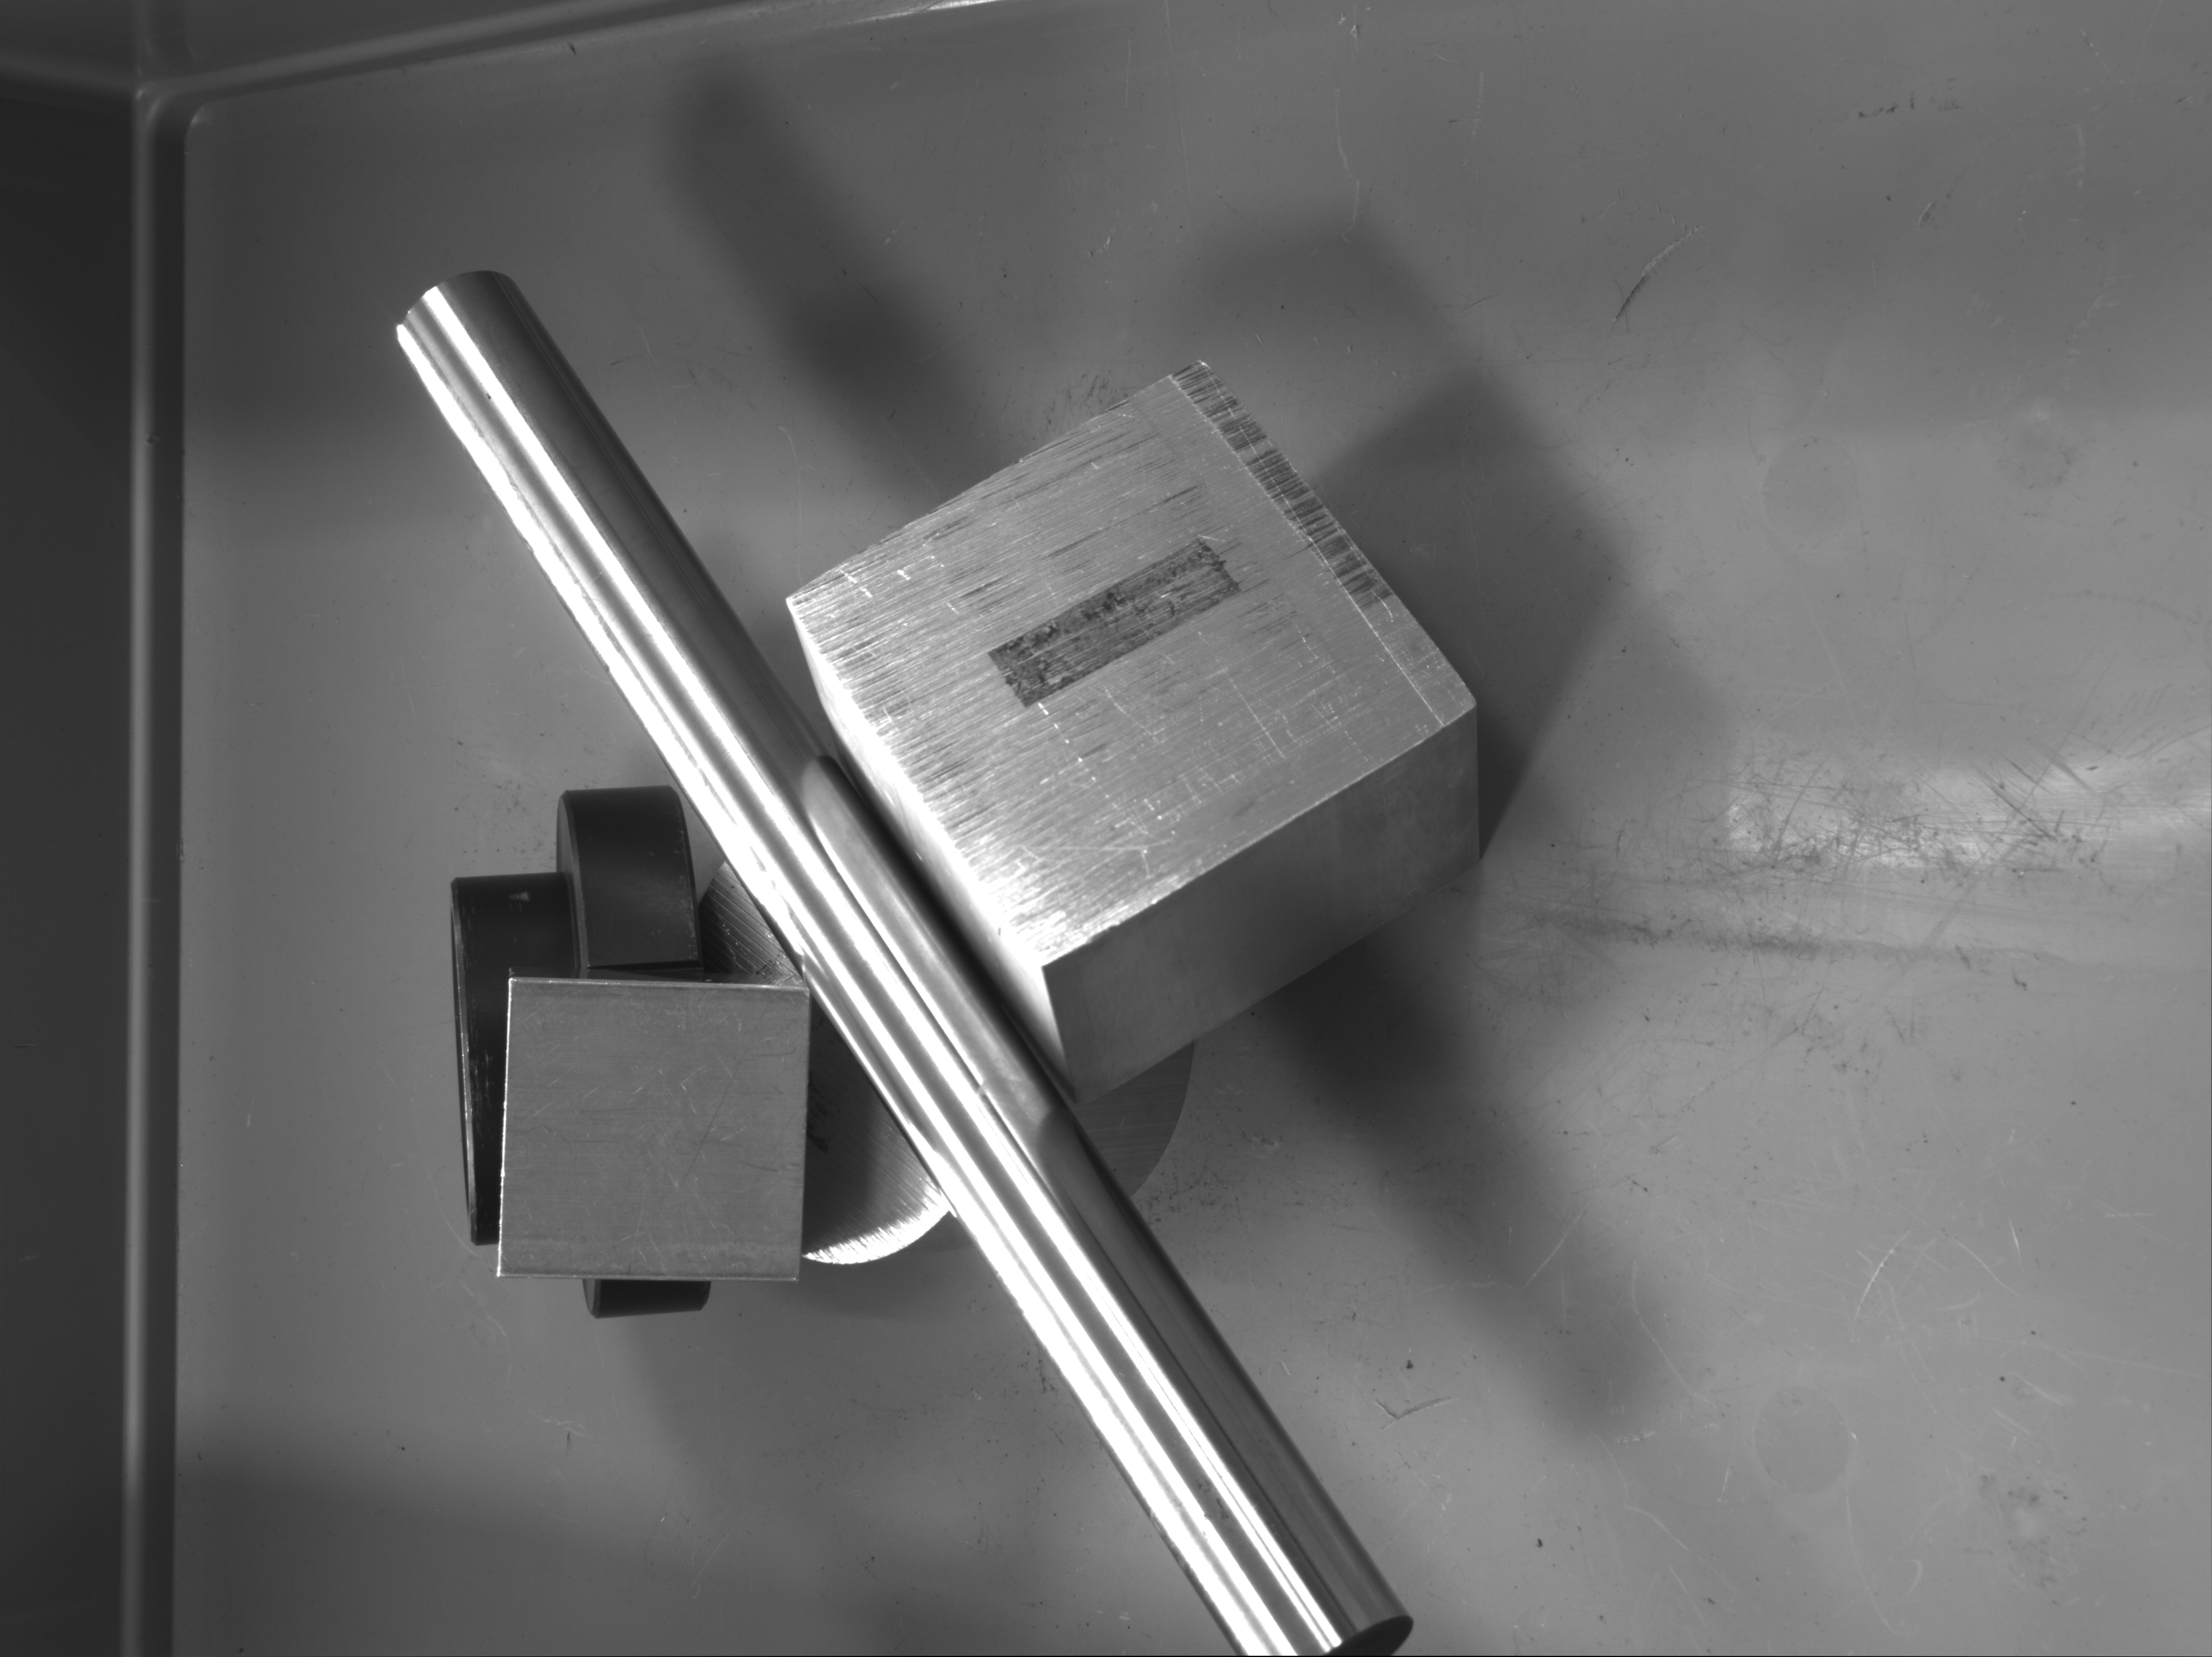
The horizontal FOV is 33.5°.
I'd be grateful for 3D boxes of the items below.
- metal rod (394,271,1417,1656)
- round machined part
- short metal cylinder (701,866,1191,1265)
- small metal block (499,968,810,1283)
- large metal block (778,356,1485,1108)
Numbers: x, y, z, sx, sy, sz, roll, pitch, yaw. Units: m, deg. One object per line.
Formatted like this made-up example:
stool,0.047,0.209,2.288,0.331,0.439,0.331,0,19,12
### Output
metal rod,-0.042,0.016,0.614,0.025,0.025,0.299,-51,60,28
round machined part,-0.099,0.042,0.682,0.098,0.042,0.098,176,90,-79
short metal cylinder,-0.032,0.035,0.654,0.080,0.050,0.080,0,90,40
small metal block,-0.077,0.050,0.624,0.025,0.050,0.050,-167,79,-80
large metal block,0.005,-0.016,0.595,0.080,0.050,0.080,-31,63,-10
